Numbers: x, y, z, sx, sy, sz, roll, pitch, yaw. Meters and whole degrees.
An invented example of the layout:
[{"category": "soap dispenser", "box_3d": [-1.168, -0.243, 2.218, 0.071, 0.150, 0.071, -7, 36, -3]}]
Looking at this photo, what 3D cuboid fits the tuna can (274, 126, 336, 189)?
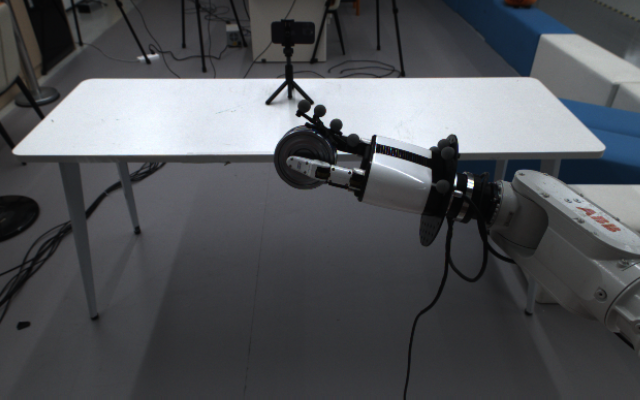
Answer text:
[{"category": "tuna can", "box_3d": [-0.019, -0.059, 0.669, 0.085, 0.085, 0.034, 6, 19, 6]}]
